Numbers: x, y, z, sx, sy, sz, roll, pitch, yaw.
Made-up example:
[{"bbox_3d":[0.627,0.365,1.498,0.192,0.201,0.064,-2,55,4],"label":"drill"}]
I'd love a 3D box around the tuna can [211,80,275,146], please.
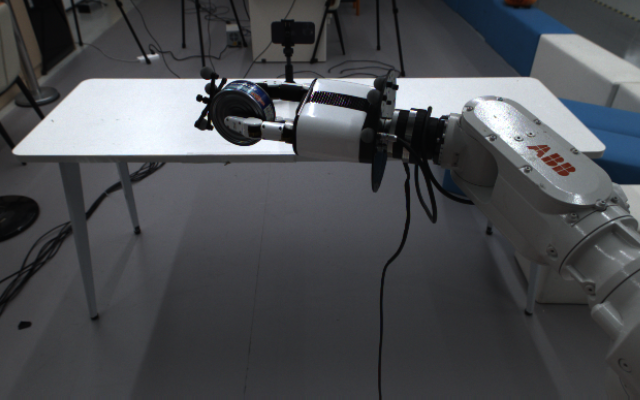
[{"bbox_3d":[-0.106,-0.120,0.666,0.085,0.085,0.034,11,36,12],"label":"tuna can"}]
